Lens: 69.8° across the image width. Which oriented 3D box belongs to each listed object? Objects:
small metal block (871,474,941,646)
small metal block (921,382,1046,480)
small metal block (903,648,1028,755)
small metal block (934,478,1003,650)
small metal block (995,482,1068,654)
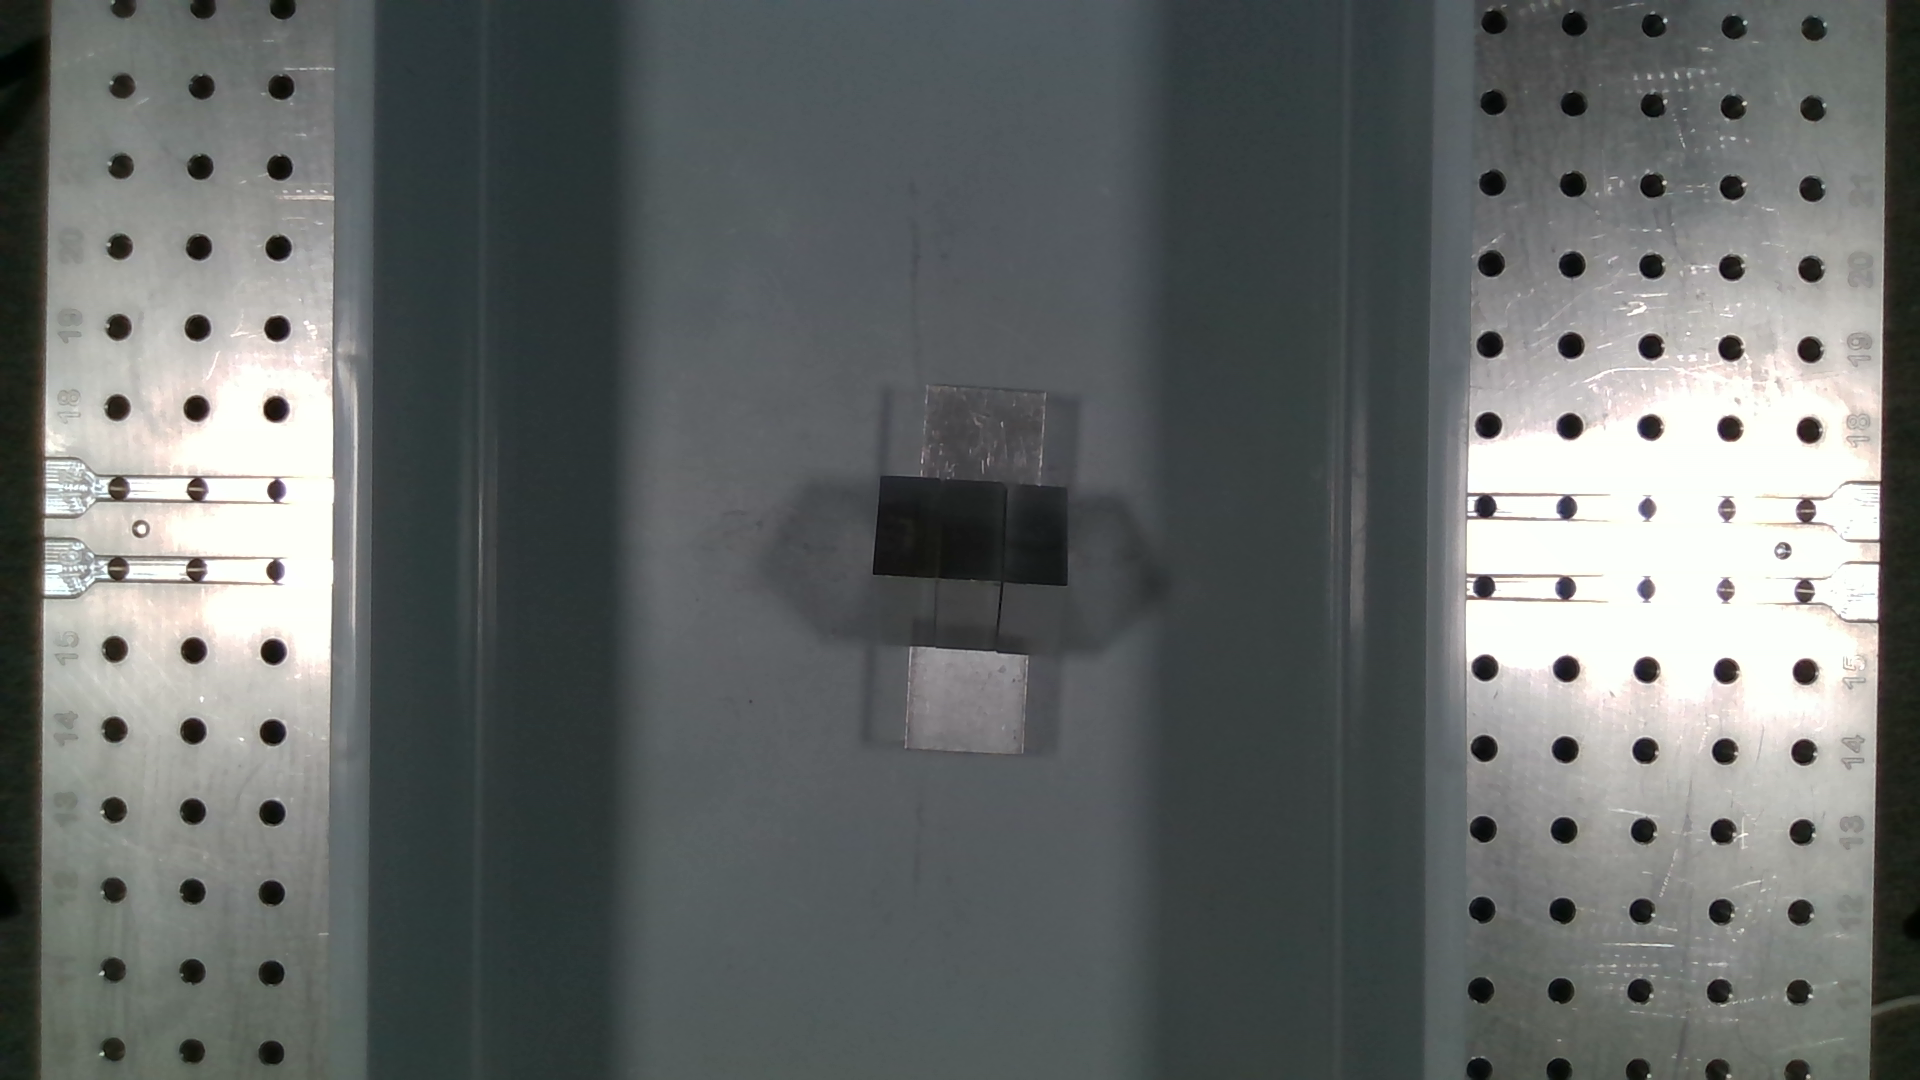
[{"bbox_3d":[-0.022,0.009,0.563,0.025,0.050,0.050,3,54,-1],"label":"small metal block"},{"bbox_3d":[0.009,-0.039,0.585,0.050,0.025,0.050,4,90,0],"label":"small metal block"},{"bbox_3d":[0.003,0.063,0.587,0.050,0.025,0.050,3,90,0],"label":"small metal block"},{"bbox_3d":[0.004,0.010,0.563,0.025,0.050,0.050,3,54,-1],"label":"small metal block"},{"bbox_3d":[0.029,0.012,0.563,0.025,0.050,0.050,3,54,-1],"label":"small metal block"}]
